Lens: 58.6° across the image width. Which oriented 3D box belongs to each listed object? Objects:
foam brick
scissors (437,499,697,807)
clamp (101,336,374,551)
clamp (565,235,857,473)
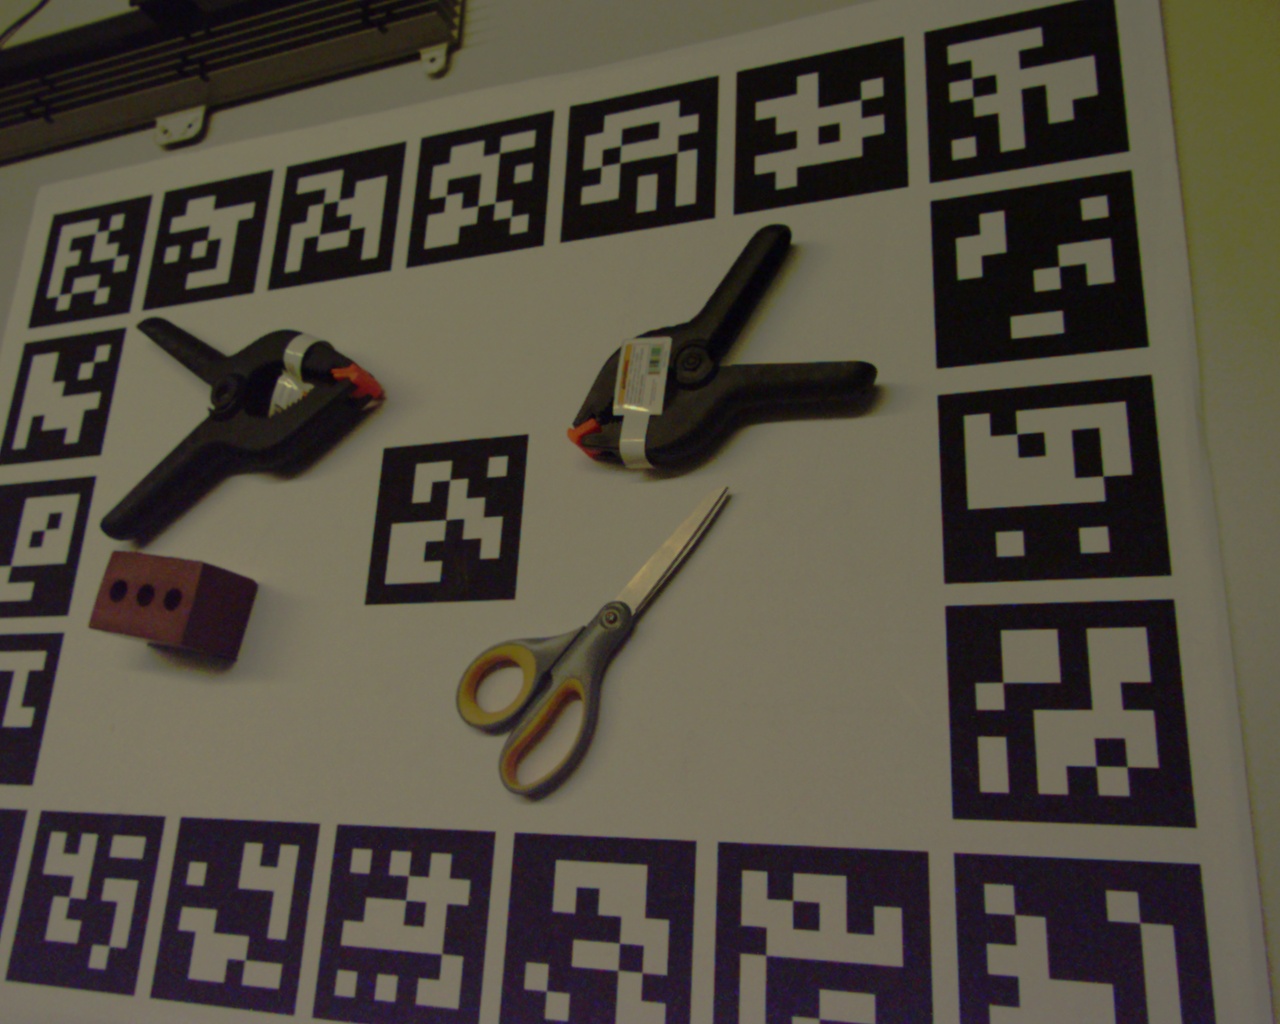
[{"bbox_3d":[-0.302,0.068,0.755,0.079,0.051,0.053,3,77,27],"label":"foam brick"},{"bbox_3d":[-0.035,0.070,0.657,0.088,0.016,0.203,39,89,20],"label":"scissors"},{"bbox_3d":[-0.279,-0.063,0.791,0.204,0.036,0.166,-8,68,19],"label":"clamp"},{"bbox_3d":[0.028,-0.075,0.672,0.166,0.036,0.122,-31,72,12],"label":"clamp"}]
